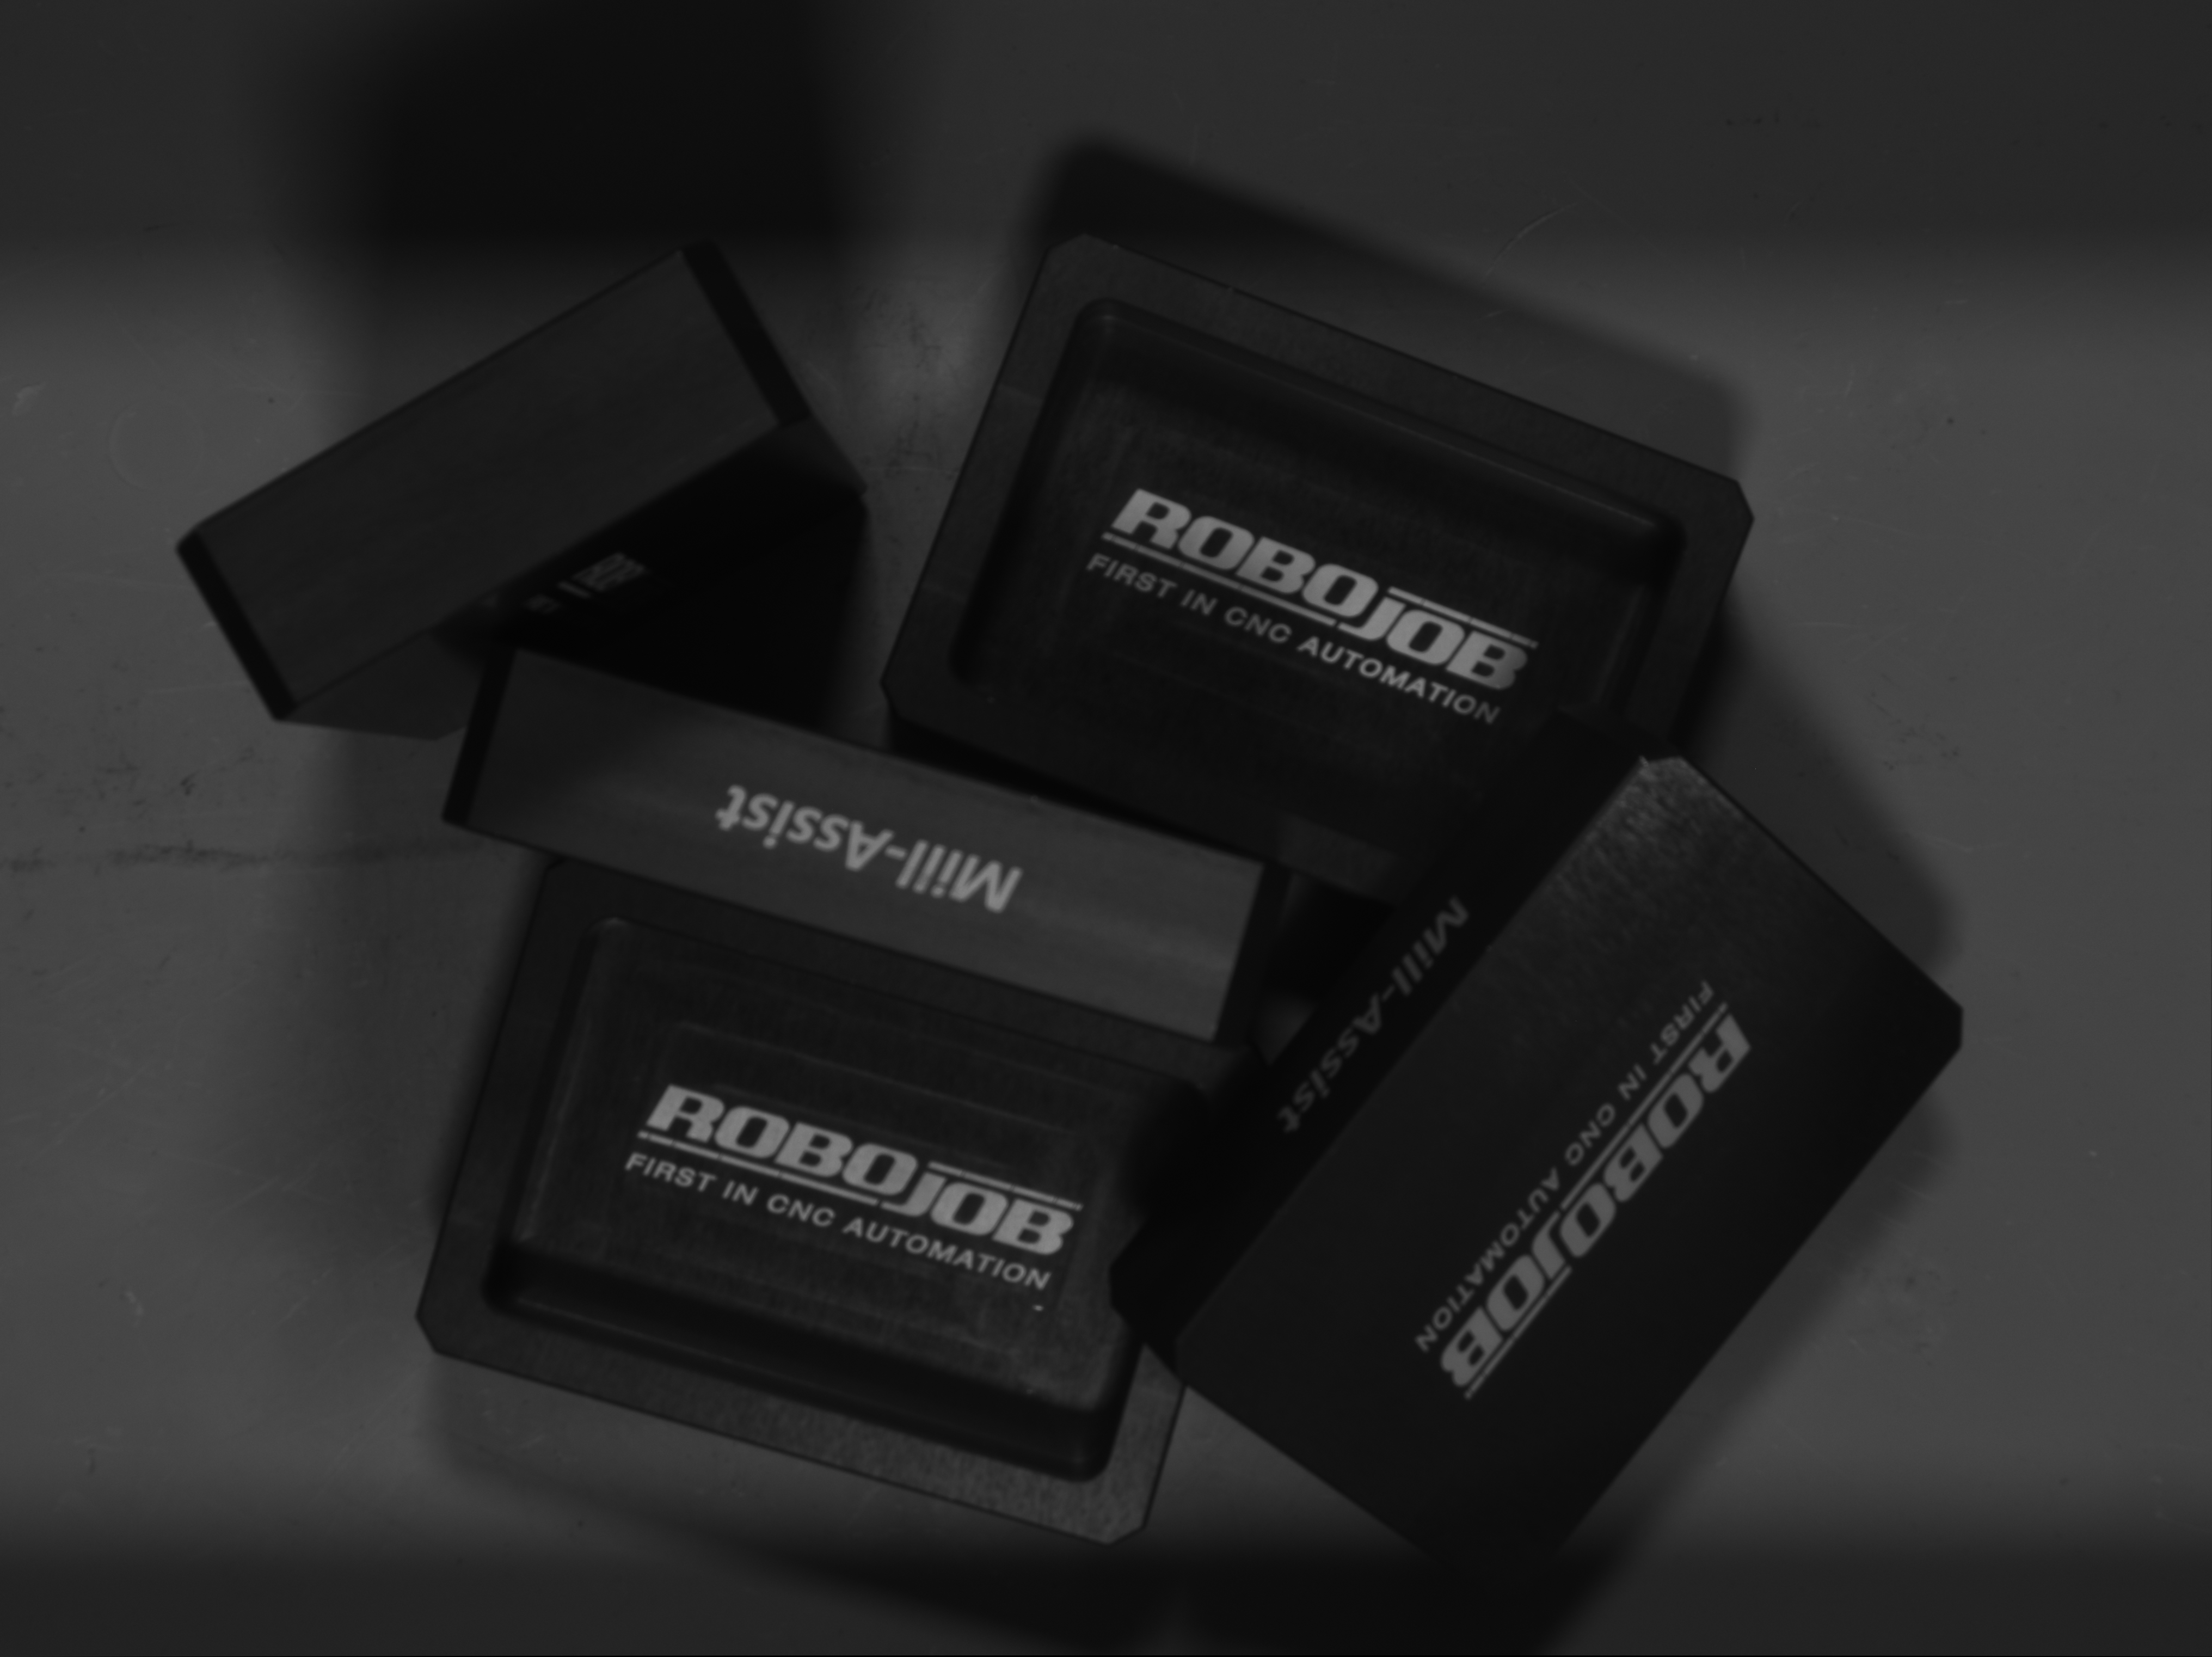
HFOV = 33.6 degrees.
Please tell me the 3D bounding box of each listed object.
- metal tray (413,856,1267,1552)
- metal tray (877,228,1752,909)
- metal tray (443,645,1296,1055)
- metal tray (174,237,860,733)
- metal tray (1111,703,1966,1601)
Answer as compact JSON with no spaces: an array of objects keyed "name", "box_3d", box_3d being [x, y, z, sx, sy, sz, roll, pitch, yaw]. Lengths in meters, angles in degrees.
[{"name":"metal tray","box_3d":[-0.045,0.064,0.639,0.130,0.030,0.090,16,90,0]},{"name":"metal tray","box_3d":[0.036,-0.039,0.642,0.130,0.030,0.090,21,90,0]},{"name":"metal tray","box_3d":[-0.037,0.003,0.610,0.130,0.090,0.030,16,90,0]},{"name":"metal tray","box_3d":[-0.089,-0.051,0.590,0.090,0.130,0.030,-30,90,0]},{"name":"metal tray","box_3d":[0.074,0.056,0.622,0.090,0.030,0.130,39,90,-29]}]
